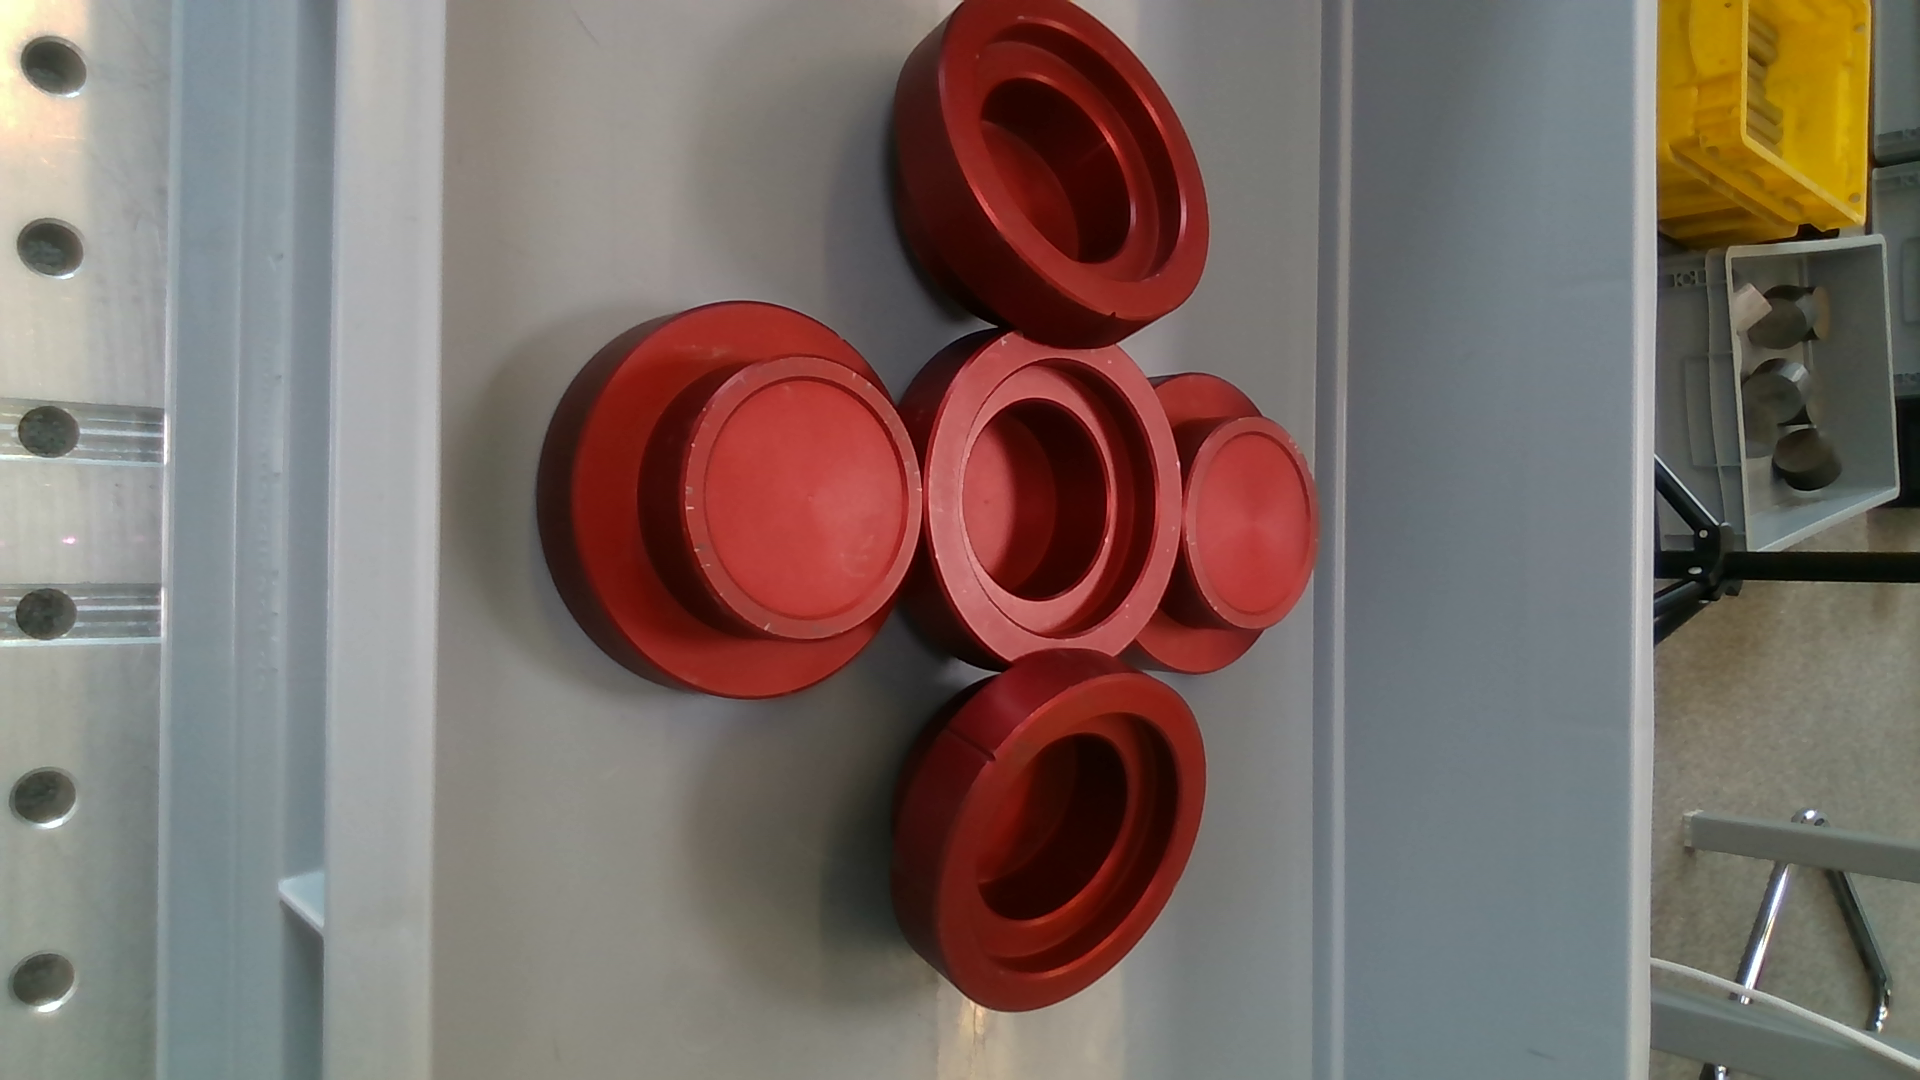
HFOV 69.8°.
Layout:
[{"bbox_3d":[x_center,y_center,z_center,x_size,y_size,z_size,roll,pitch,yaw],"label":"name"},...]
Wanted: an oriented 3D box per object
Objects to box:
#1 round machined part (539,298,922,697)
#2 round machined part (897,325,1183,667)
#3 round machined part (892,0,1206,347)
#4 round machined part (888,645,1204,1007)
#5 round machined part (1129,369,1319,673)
[{"bbox_3d":[-0.048,-0.010,0.338,0.098,0.042,0.098,0,90,-40],"label":"round machined part"},{"bbox_3d":[0.016,-0.012,0.391,0.098,0.042,0.098,0,90,-40],"label":"round machined part"},{"bbox_3d":[0.020,-0.099,0.385,0.098,0.042,0.098,17,62,-35],"label":"round machined part"},{"bbox_3d":[0.019,0.075,0.384,0.098,0.042,0.098,-16,116,-35],"label":"round machined part"},{"bbox_3d":[0.079,-0.006,0.445,0.098,0.042,0.098,0,90,-40],"label":"round machined part"}]
